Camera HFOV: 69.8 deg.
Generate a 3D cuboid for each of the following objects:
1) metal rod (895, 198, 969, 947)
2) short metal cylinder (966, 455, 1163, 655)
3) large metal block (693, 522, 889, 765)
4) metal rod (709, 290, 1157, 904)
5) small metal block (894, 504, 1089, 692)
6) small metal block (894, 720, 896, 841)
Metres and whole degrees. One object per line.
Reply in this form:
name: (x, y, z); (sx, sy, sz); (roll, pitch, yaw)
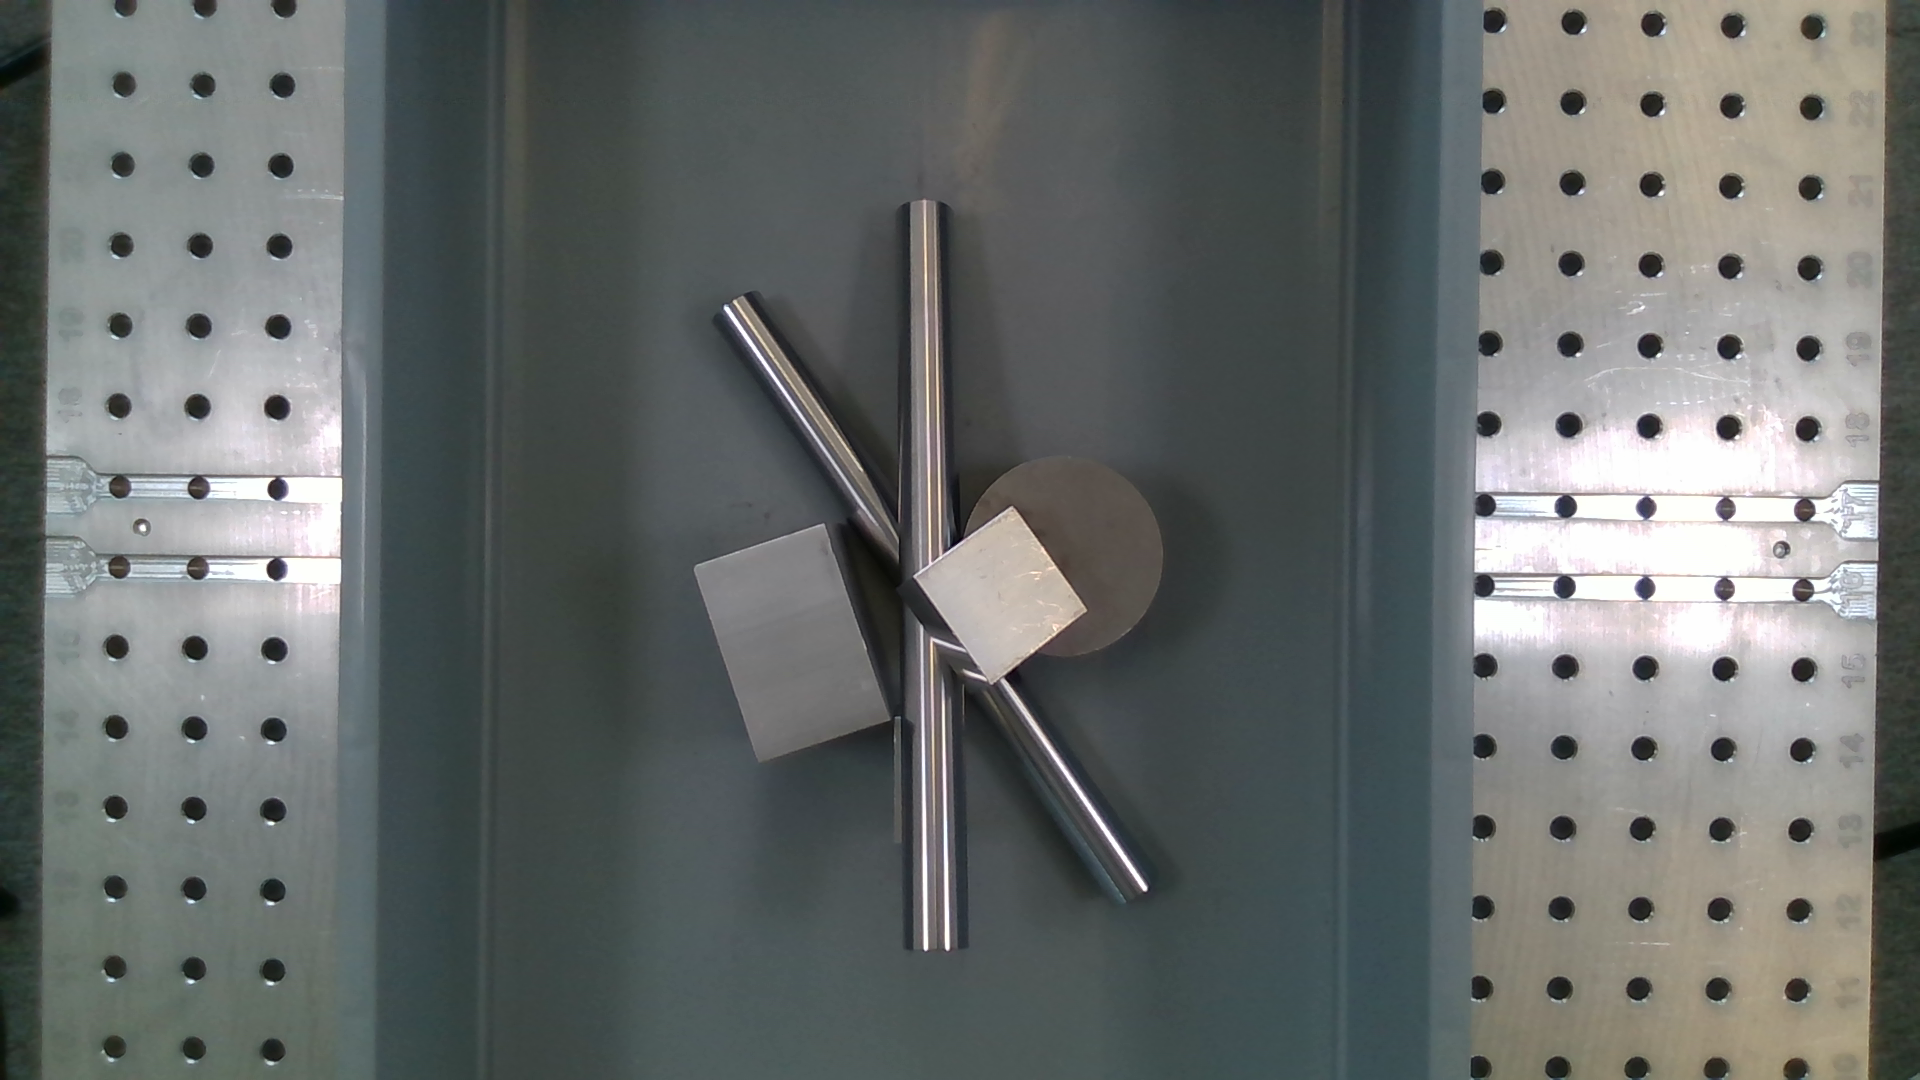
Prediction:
metal rod: (-0.012, 0.007, 0.551); (0.025, 0.025, 0.299); (-1, 77, 0)
short metal cylinder: (0.041, 0.006, 0.574); (0.080, 0.050, 0.080); (0, 90, -1)
large metal block: (-0.064, 0.039, 0.558); (0.050, 0.080, 0.080); (-18, 90, 0)
metal rod: (-0.011, 0.024, 0.587); (0.025, 0.025, 0.300); (-35, 91, 0)
small metal block: (0.012, 0.023, 0.528); (0.050, 0.025, 0.050); (-35, 90, -22)
small metal block: (-0.014, 0.096, 0.575); (0.025, 0.050, 0.050); (0, 89, 0)
